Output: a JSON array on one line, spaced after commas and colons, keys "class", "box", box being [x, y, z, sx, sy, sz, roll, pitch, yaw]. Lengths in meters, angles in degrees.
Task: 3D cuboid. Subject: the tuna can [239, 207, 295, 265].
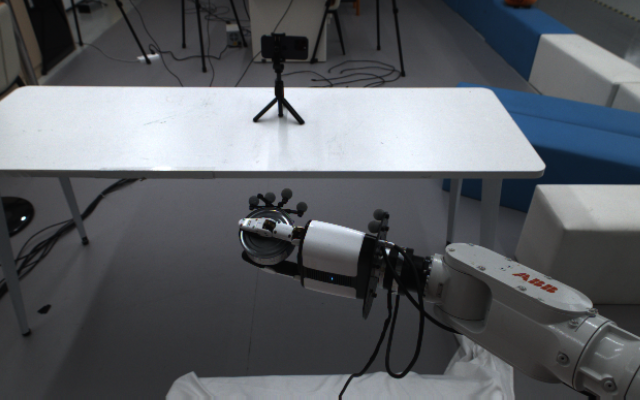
[{"class": "tuna can", "box": [-0.079, 0.055, 0.741, 0.085, 0.034, 0.085, -3, 57, 4]}]
